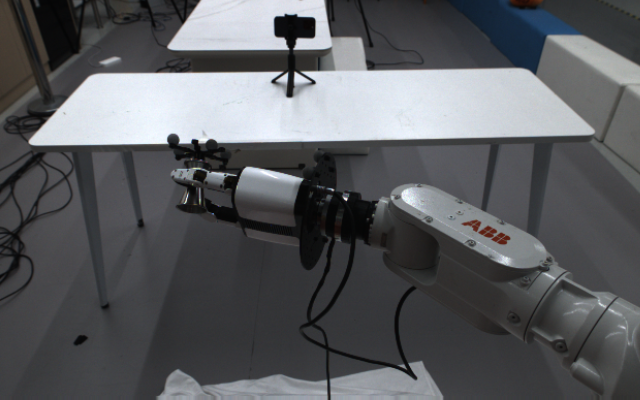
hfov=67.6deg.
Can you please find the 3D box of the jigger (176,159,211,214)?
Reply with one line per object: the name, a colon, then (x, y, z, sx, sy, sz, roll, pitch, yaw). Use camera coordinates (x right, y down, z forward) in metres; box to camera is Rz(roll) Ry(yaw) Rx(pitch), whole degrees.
jigger: (-0.179, -0.019, 0.687, 0.043, 0.043, 0.071, 3, 73, 1)
